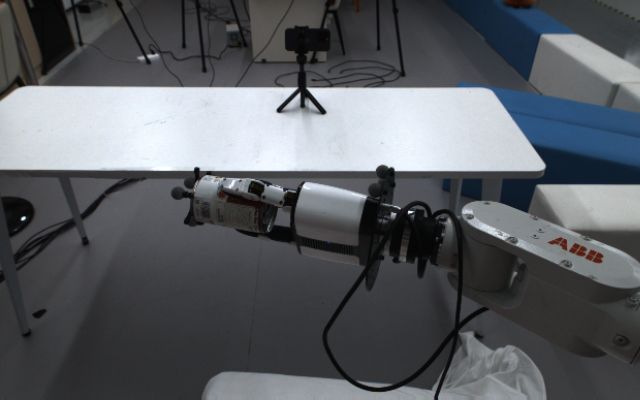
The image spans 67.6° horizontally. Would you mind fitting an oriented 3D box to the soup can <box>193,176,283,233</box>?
[{"bbox_3d":[-0.113,0.006,0.659,0.101,0.067,0.067,9,35,10],"label":"soup can"}]
